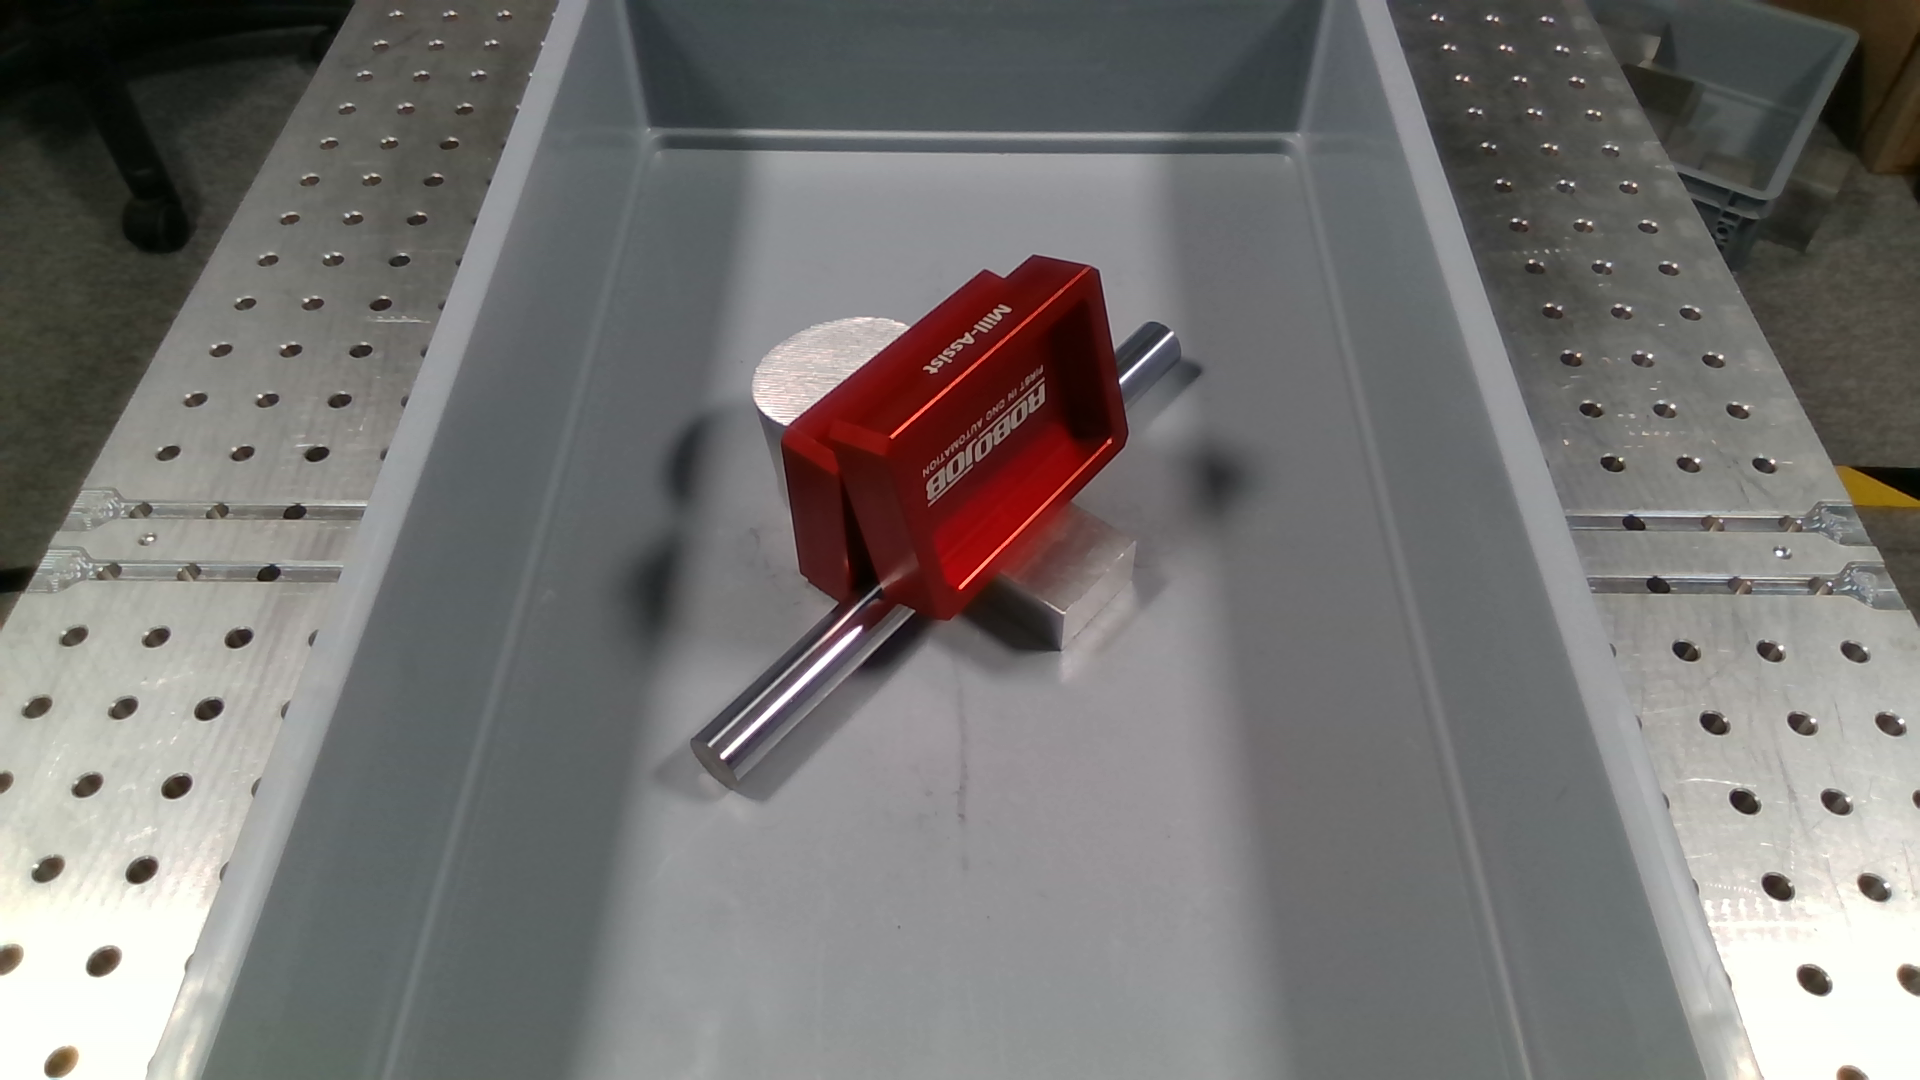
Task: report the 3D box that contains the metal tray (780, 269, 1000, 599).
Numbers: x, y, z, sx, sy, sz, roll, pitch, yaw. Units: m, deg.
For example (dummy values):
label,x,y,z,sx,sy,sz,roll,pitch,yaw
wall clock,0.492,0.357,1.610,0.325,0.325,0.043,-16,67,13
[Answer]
label,x,y,z,sx,sy,sz,roll,pitch,yaw
metal tray,-0.016,-0.043,0.579,0.030,0.090,0.130,32,57,24

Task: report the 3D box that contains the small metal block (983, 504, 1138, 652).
label,x,y,z,sx,sy,sz,roll,pitch,yaw
small metal block,0.038,0.011,0.576,0.050,0.025,0.050,33,58,25

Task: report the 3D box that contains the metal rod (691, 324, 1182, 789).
label,x,y,z,sx,sy,sz,roll,pitch,yaw
metal rod,0.002,-0.005,0.591,0.025,0.025,0.299,32,57,24

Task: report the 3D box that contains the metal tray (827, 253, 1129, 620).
label,x,y,z,sx,sy,sz,roll,pitch,yaw
metal tray,0.012,-0.042,0.546,0.030,0.090,0.130,20,51,38

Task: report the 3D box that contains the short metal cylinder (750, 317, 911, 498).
label,x,y,z,sx,sy,sz,roll,pitch,yaw
short metal cylinder,-0.048,-0.054,0.607,0.080,0.050,0.080,-5,44,5
